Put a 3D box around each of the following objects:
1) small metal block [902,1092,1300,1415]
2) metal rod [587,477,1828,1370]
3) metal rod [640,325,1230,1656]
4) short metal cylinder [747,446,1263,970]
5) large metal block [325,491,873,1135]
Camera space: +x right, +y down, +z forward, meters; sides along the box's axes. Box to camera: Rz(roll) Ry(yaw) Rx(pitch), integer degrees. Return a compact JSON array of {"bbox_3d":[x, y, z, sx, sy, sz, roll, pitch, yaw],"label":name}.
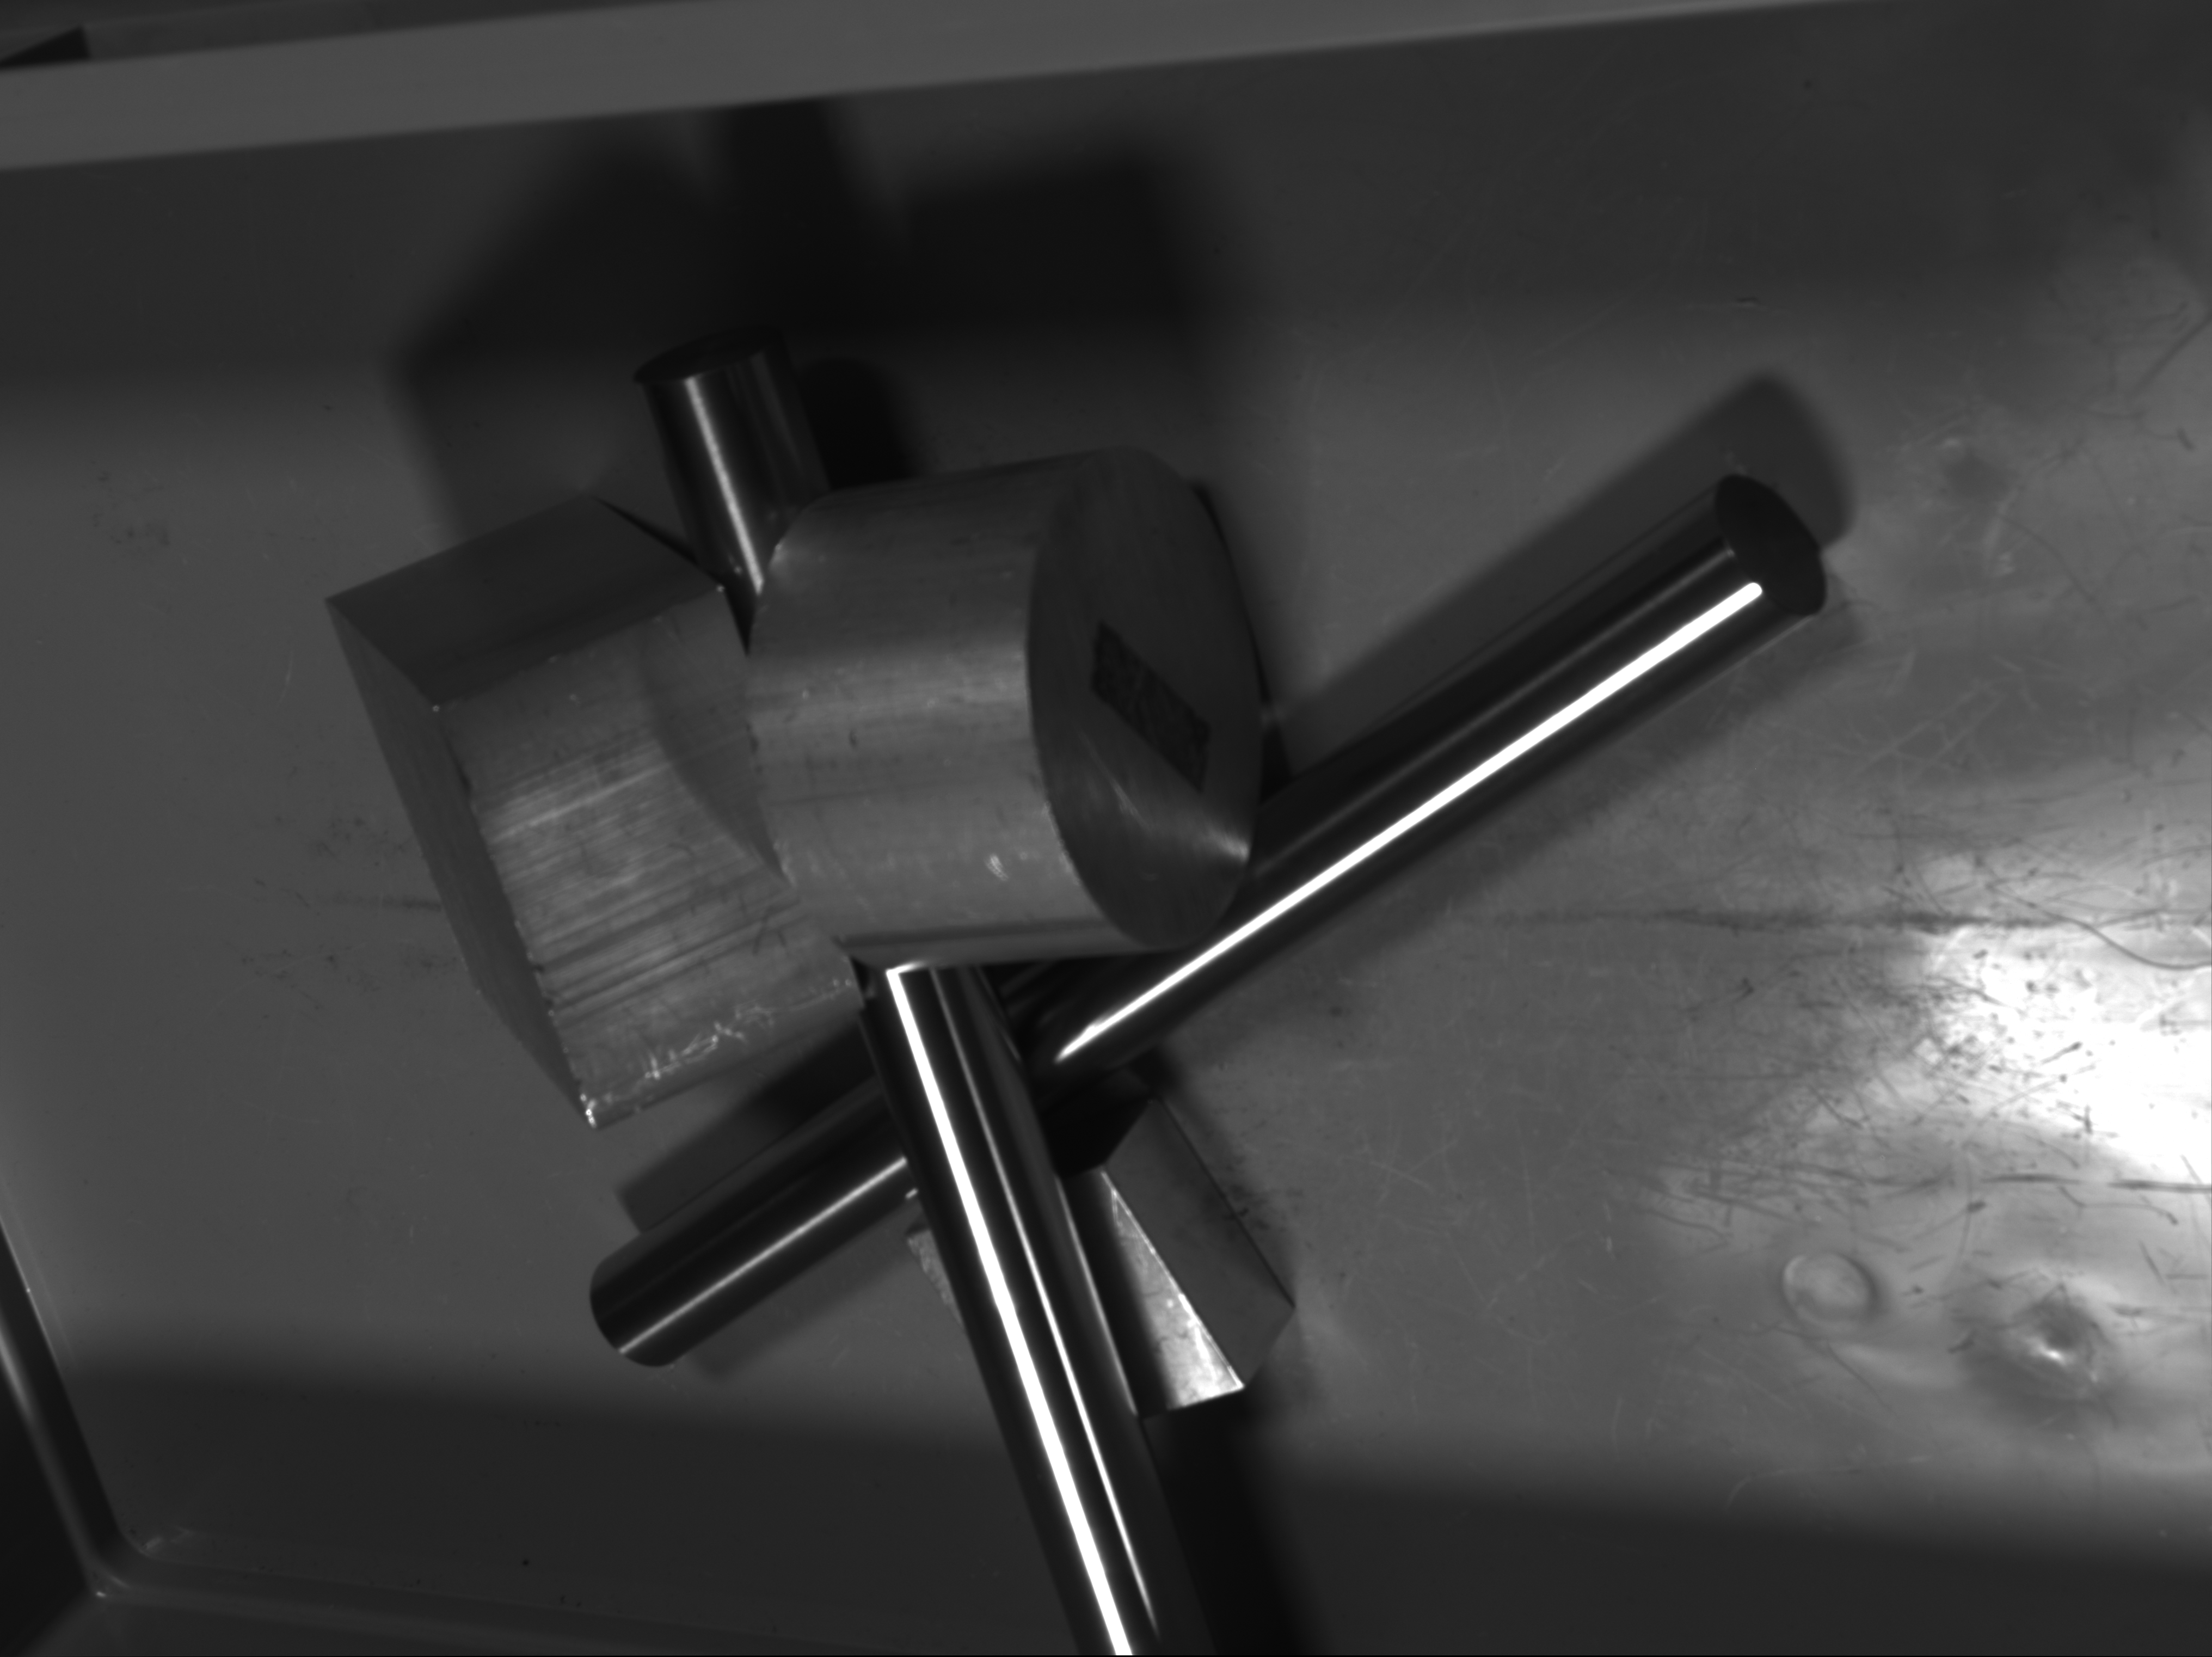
[{"bbox_3d":[-0.001,0.083,0.680,0.050,0.025,0.050,-23,106,35],"label":"small metal block"},{"bbox_3d":[0.004,0.027,0.643,0.025,0.025,0.299,49,127,-7],"label":"metal rod"},{"bbox_3d":[-0.021,0.057,0.641,0.025,0.025,0.300,-5,115,29],"label":"metal rod"},{"bbox_3d":[-0.015,-0.019,0.590,0.050,0.080,0.080,-5,116,28],"label":"short metal cylinder"},{"bbox_3d":[-0.088,-0.005,0.630,0.080,0.050,0.080,33,144,61],"label":"large metal block"}]
